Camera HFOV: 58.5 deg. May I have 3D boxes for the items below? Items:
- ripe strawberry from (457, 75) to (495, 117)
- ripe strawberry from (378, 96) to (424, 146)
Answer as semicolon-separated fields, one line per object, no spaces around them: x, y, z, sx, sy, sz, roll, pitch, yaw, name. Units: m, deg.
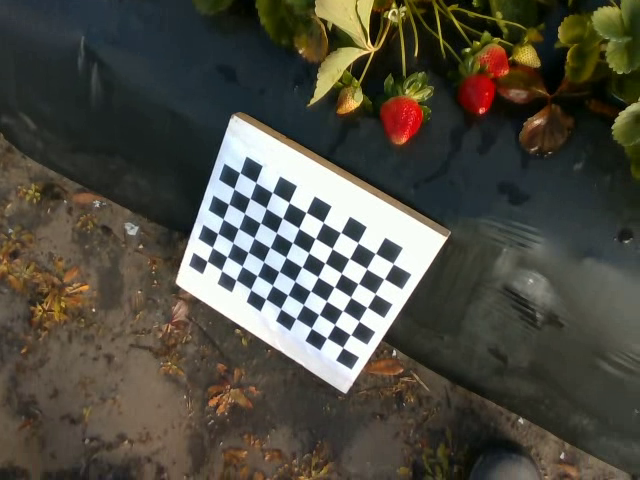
0.170;-0.155;0.622;0.044;0.055;0.041;-33;-45;32;ripe strawberry
0.088;-0.131;0.622;0.050;0.065;0.050;-6;-36;28;ripe strawberry
